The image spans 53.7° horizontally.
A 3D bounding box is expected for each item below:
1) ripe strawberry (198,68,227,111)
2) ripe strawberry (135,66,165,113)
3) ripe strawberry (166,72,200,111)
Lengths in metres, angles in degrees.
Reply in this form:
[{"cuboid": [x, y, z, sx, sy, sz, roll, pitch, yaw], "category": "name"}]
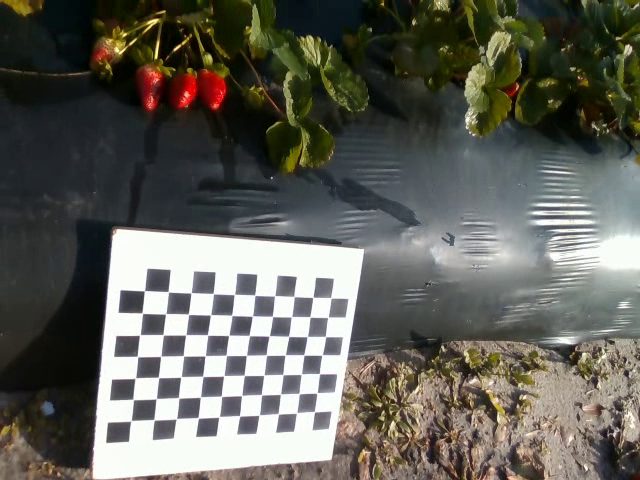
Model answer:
[{"cuboid": [-0.104, -0.138, 0.604, 0.035, 0.041, 0.034, -1, -42, -22], "category": "ripe strawberry"}, {"cuboid": [-0.158, -0.141, 0.585, 0.031, 0.046, 0.023, 3, -7, -23], "category": "ripe strawberry"}, {"cuboid": [-0.129, -0.139, 0.589, 0.030, 0.037, 0.039, 15, 29, -23], "category": "ripe strawberry"}]
